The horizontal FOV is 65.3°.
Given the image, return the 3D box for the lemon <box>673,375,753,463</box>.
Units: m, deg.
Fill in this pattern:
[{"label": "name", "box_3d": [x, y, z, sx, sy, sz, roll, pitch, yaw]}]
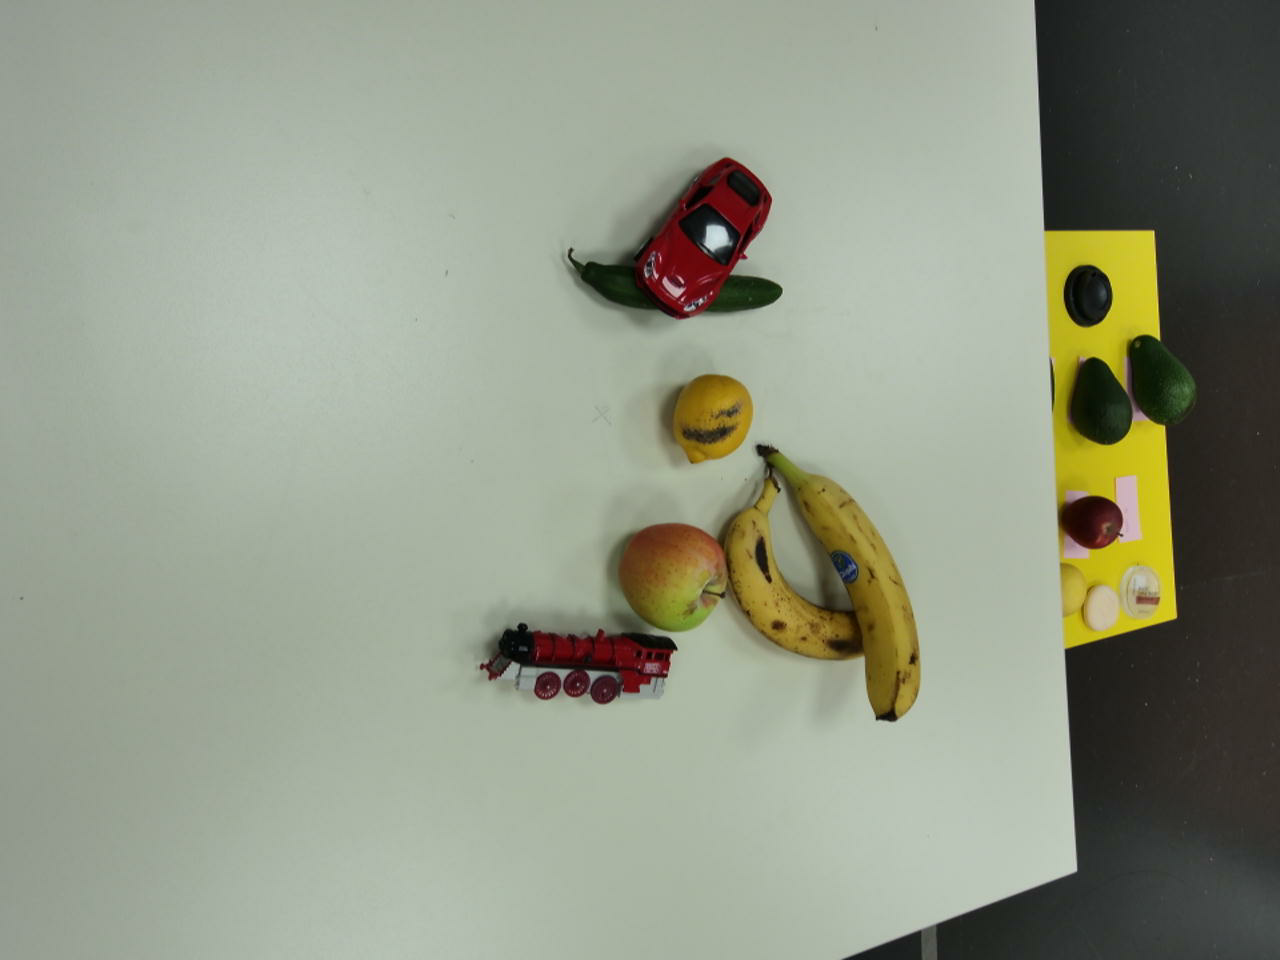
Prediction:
[{"label": "lemon", "box_3d": [0.052, -0.046, 0.719, 0.058, 0.056, 0.061, -14, 97, -27]}]
